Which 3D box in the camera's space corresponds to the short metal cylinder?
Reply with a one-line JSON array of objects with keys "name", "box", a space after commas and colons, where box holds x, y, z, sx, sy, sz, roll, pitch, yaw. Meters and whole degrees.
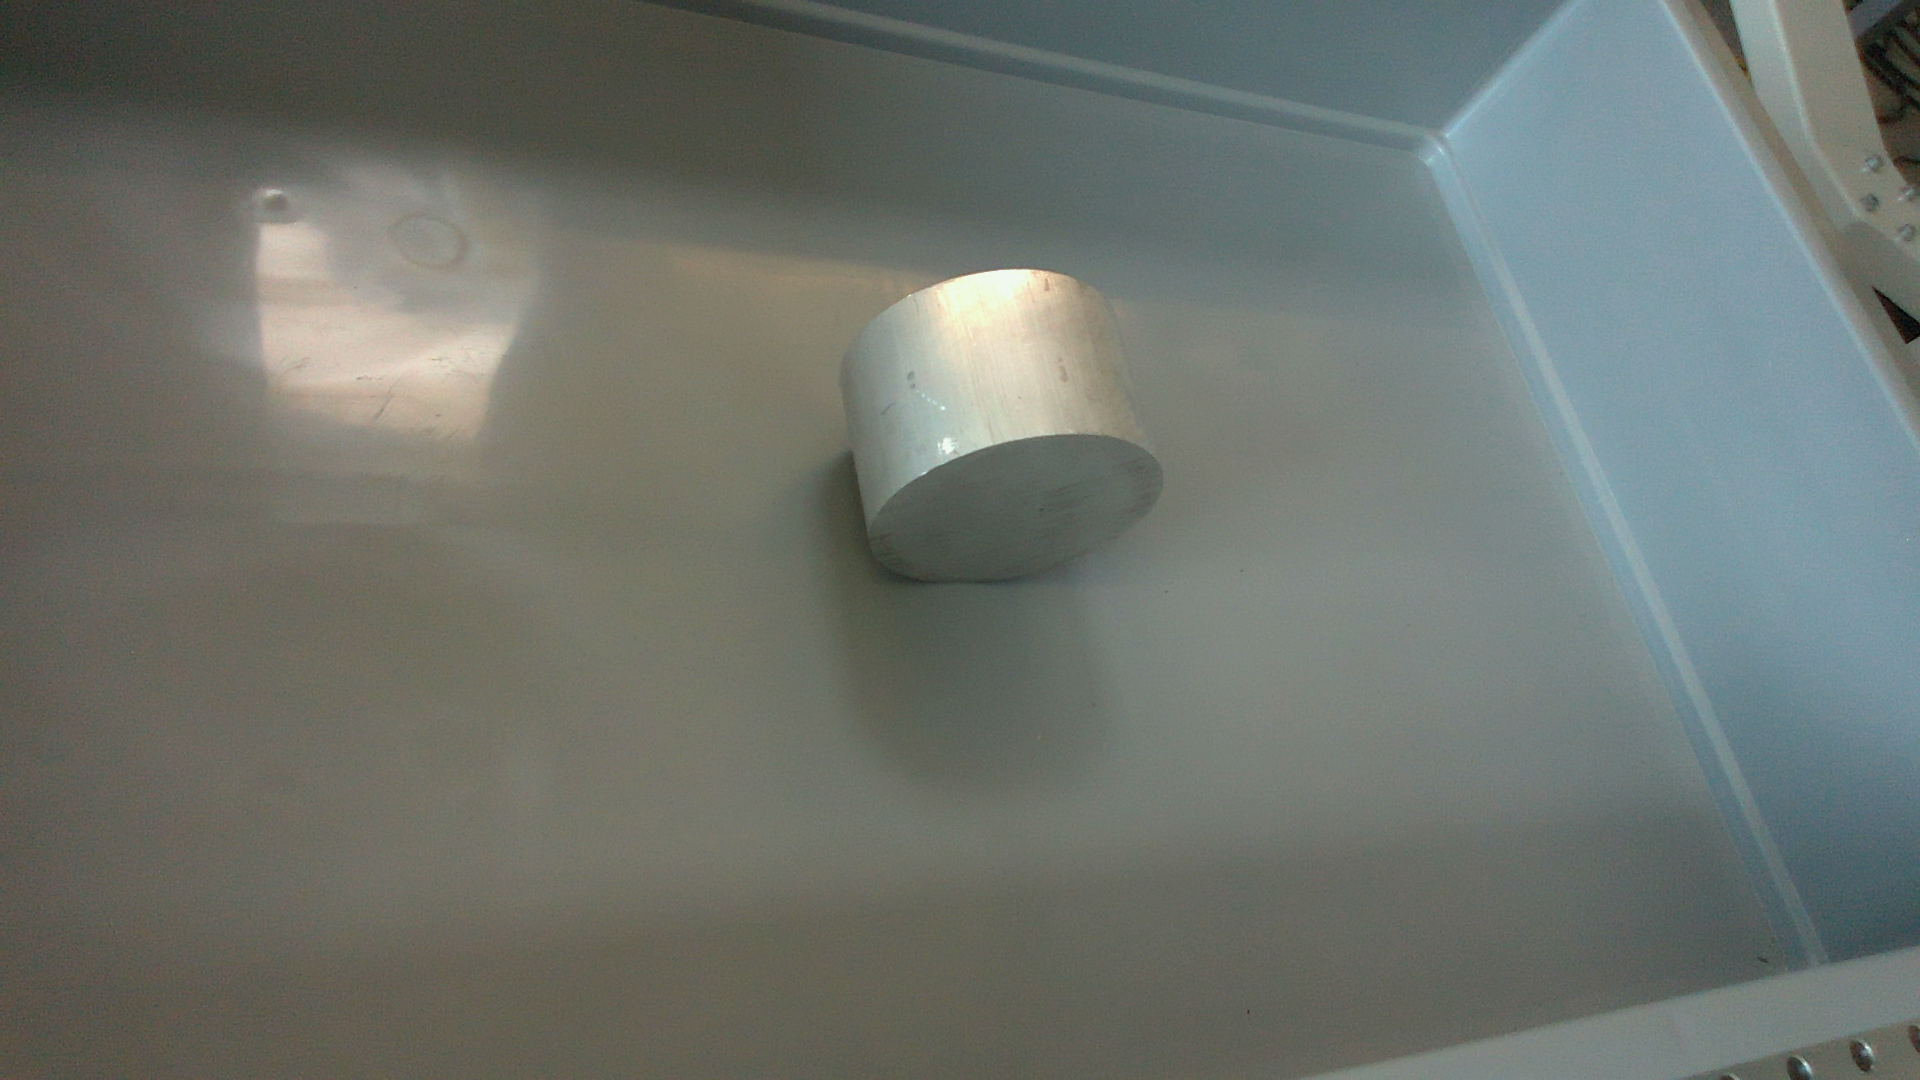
[{"name": "short metal cylinder", "box": [0.010, -0.029, 0.374, 0.080, 0.080, 0.050, 2, 61, -27]}]
